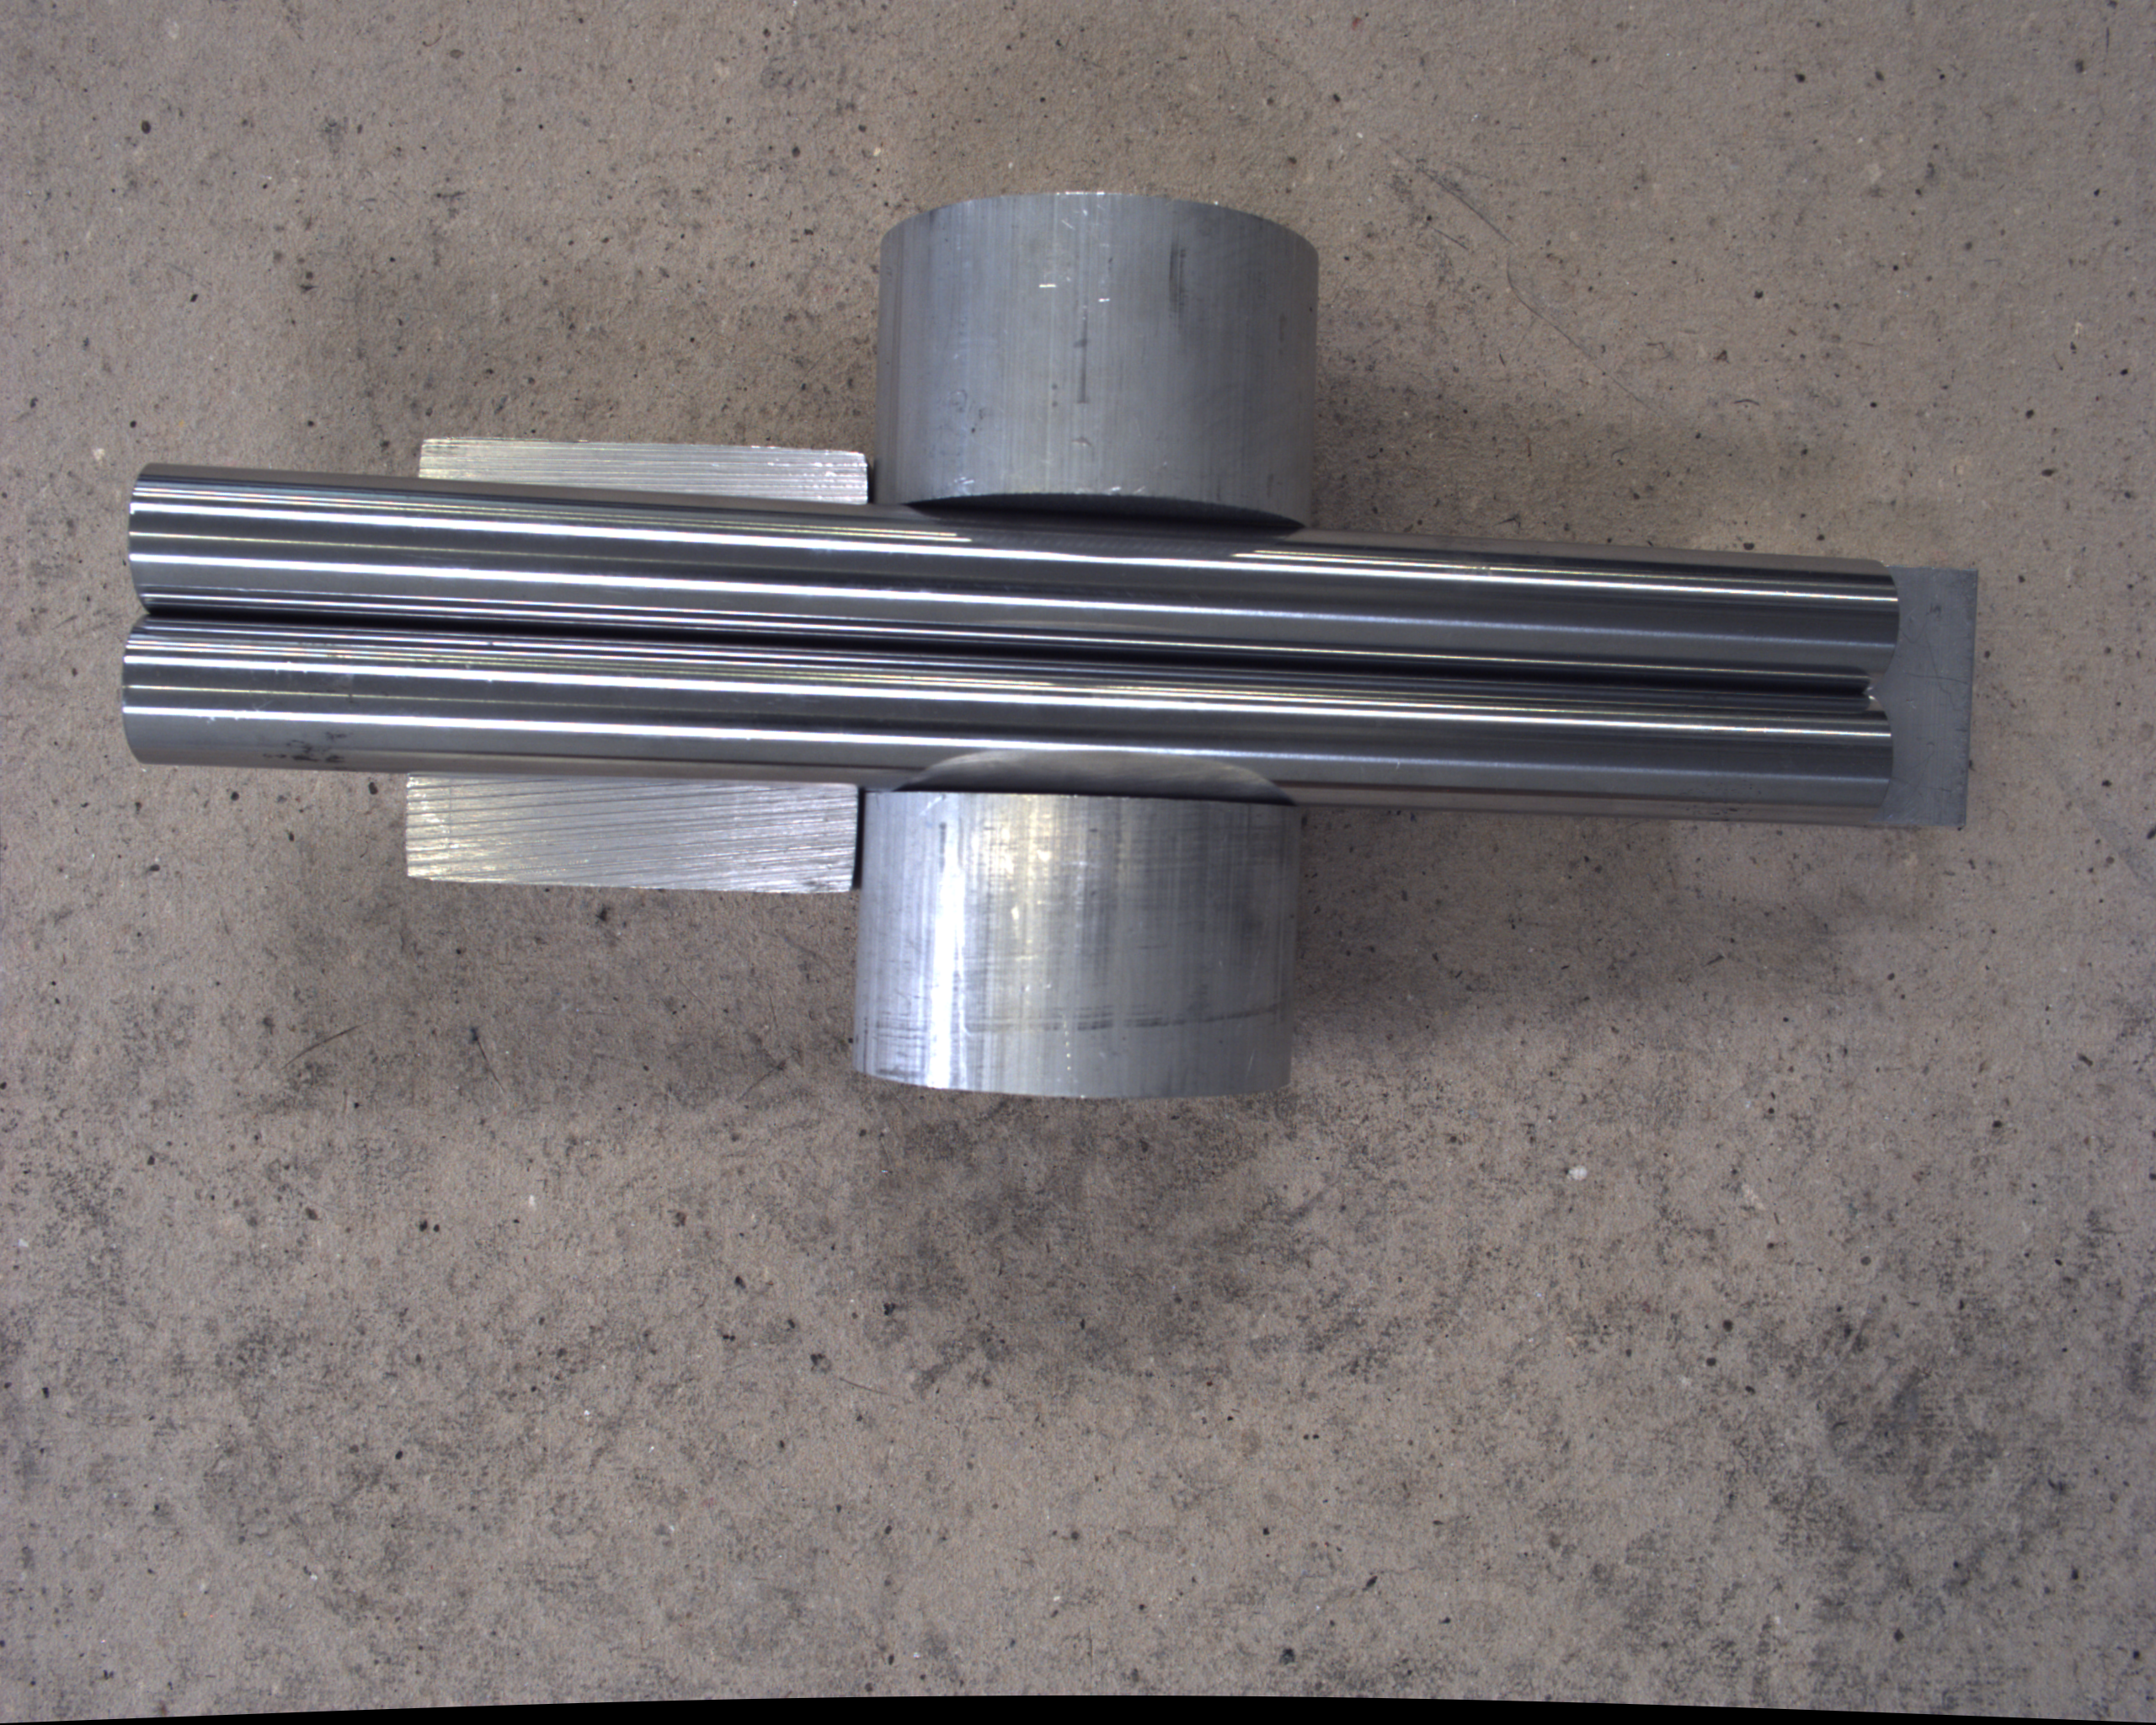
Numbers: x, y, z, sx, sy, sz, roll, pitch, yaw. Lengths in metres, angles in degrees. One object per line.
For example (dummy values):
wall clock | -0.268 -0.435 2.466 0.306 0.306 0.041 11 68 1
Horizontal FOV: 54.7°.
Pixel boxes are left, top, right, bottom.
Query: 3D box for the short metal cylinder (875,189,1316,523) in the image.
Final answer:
short metal cylinder | 0.003 -0.086 0.384 0.081 0.080 0.050 2 90 0

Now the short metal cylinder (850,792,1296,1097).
short metal cylinder | -0.001 0.013 0.384 0.081 0.080 0.050 2 90 0

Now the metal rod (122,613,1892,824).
metal rod | -0.005 -0.024 0.366 0.302 0.025 0.025 2 90 -8

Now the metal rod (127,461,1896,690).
metal rod | -0.004 -0.049 0.366 0.302 0.025 0.025 2 90 -8

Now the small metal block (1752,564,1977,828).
small metal block | 0.146 -0.033 0.413 0.050 0.025 0.050 3 90 0

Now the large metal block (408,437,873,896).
large metal block | -0.078 -0.035 0.398 0.081 0.050 0.080 2 90 0
